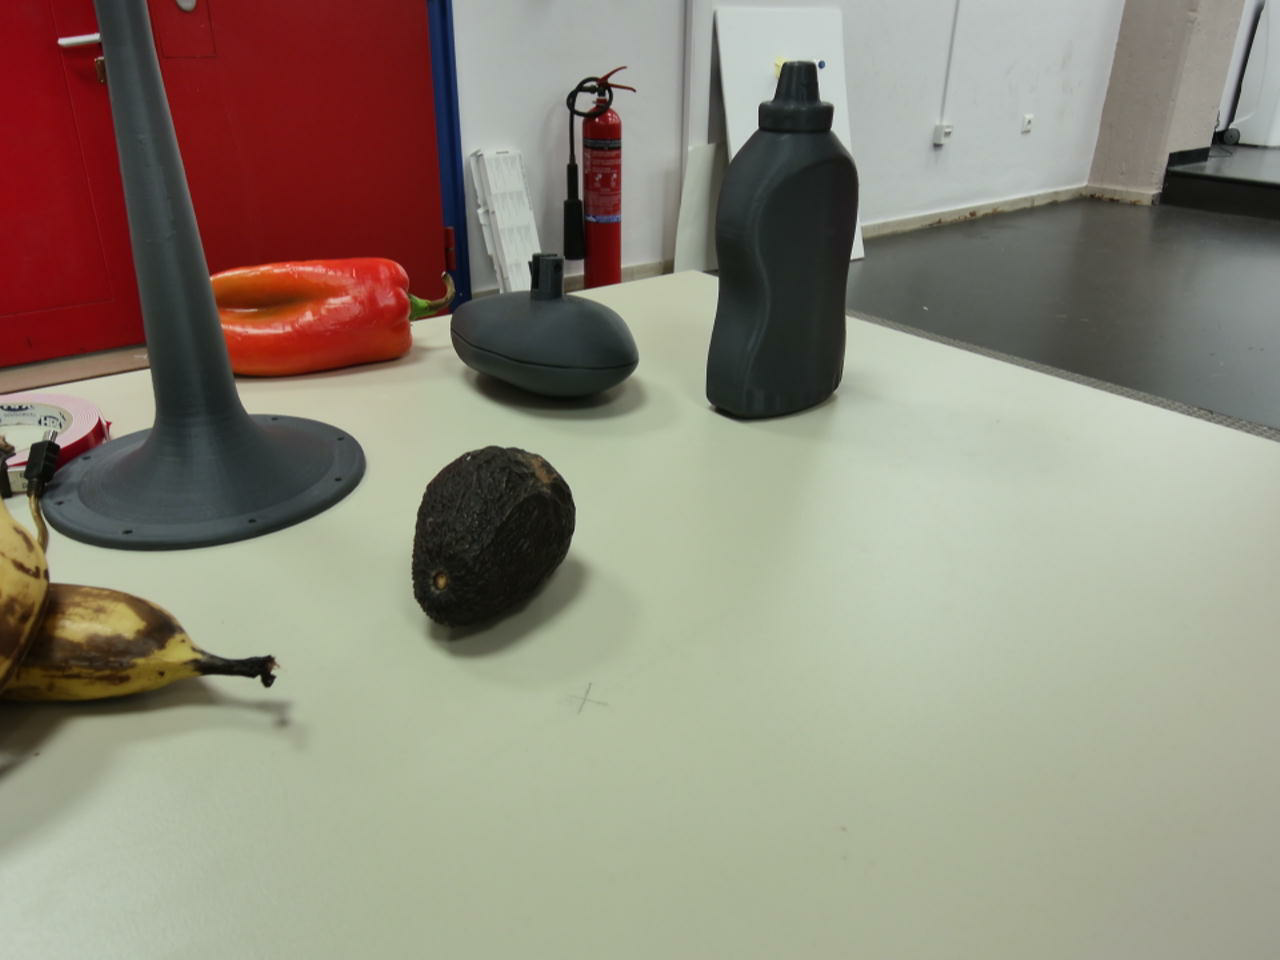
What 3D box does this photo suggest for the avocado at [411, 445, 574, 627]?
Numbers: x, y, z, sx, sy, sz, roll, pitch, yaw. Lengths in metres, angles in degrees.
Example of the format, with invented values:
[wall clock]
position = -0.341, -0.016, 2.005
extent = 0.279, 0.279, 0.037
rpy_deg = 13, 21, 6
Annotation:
[avocado]
position = -0.063, 0.020, 0.408
extent = 0.062, 0.062, 0.092
rpy_deg = 12, 26, 25
